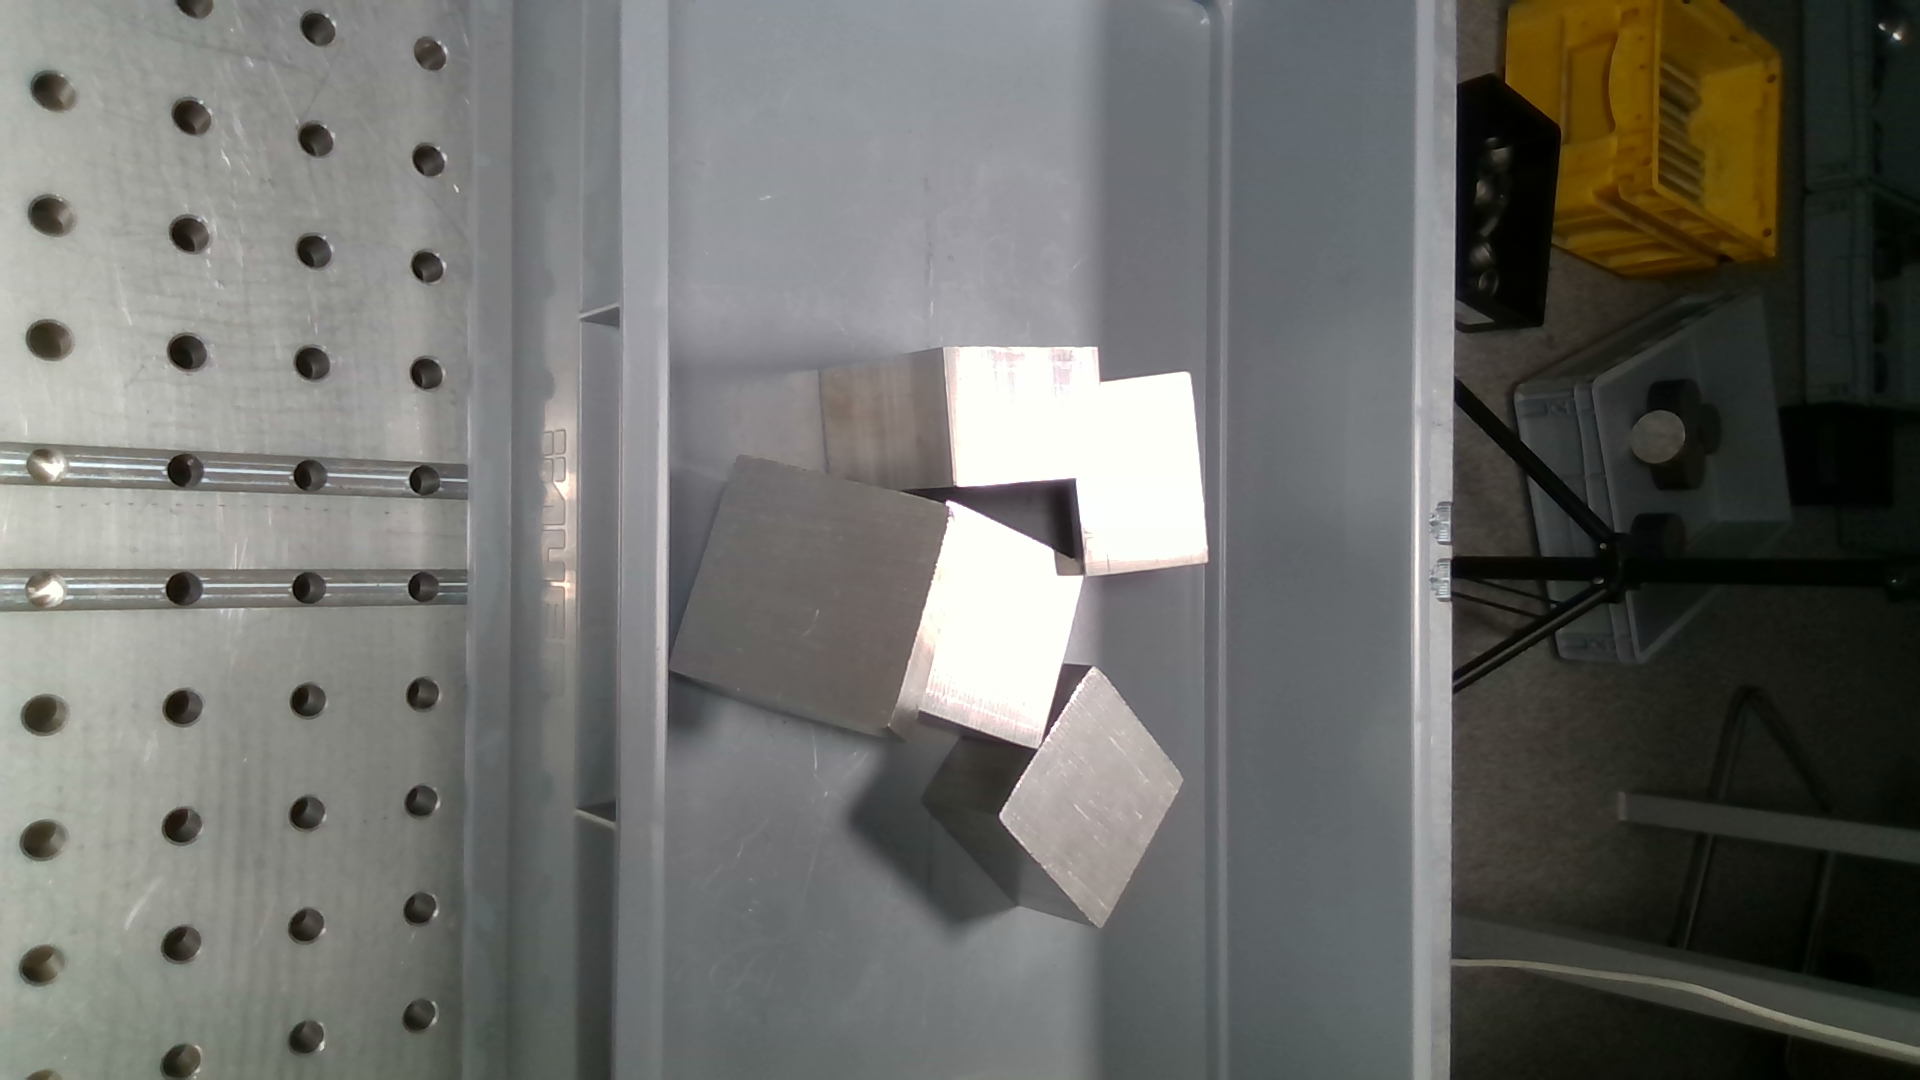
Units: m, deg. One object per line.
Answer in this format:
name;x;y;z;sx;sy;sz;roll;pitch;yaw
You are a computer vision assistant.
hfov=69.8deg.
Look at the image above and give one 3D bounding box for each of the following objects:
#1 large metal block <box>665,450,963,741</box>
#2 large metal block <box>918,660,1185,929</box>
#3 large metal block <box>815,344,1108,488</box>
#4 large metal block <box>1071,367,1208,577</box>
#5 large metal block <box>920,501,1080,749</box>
large metal block;-0.049;0.022;0.496;0.050;0.080;0.080;66;39;-75
large metal block;0.042;0.108;0.601;0.080;0.050;0.080;51;60;-28
large metal block;0.000;-0.048;0.547;0.080;0.080;0.050;-7;95;-40
large metal block;0.073;-0.030;0.600;0.050;0.080;0.080;-6;94;2
large metal block;-0.004;0.034;0.564;0.080;0.050;0.080;24;75;-38
